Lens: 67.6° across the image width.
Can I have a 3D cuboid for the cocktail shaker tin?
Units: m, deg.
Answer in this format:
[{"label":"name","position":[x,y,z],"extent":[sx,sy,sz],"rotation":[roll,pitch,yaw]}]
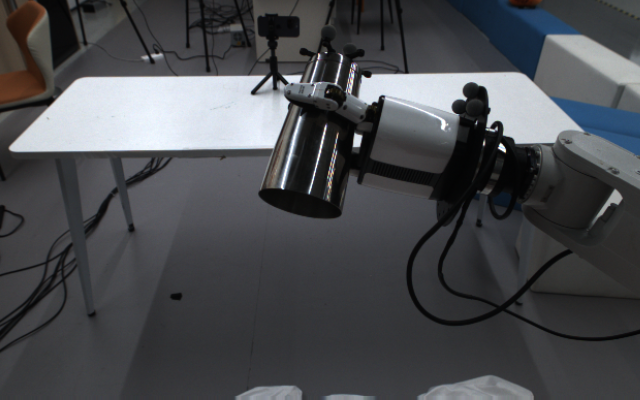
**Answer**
[{"label":"cocktail shaker tin","position":[-0.002,-0.073,0.540],"extent":[0.093,0.093,0.170],"rotation":[11,73,12]}]
